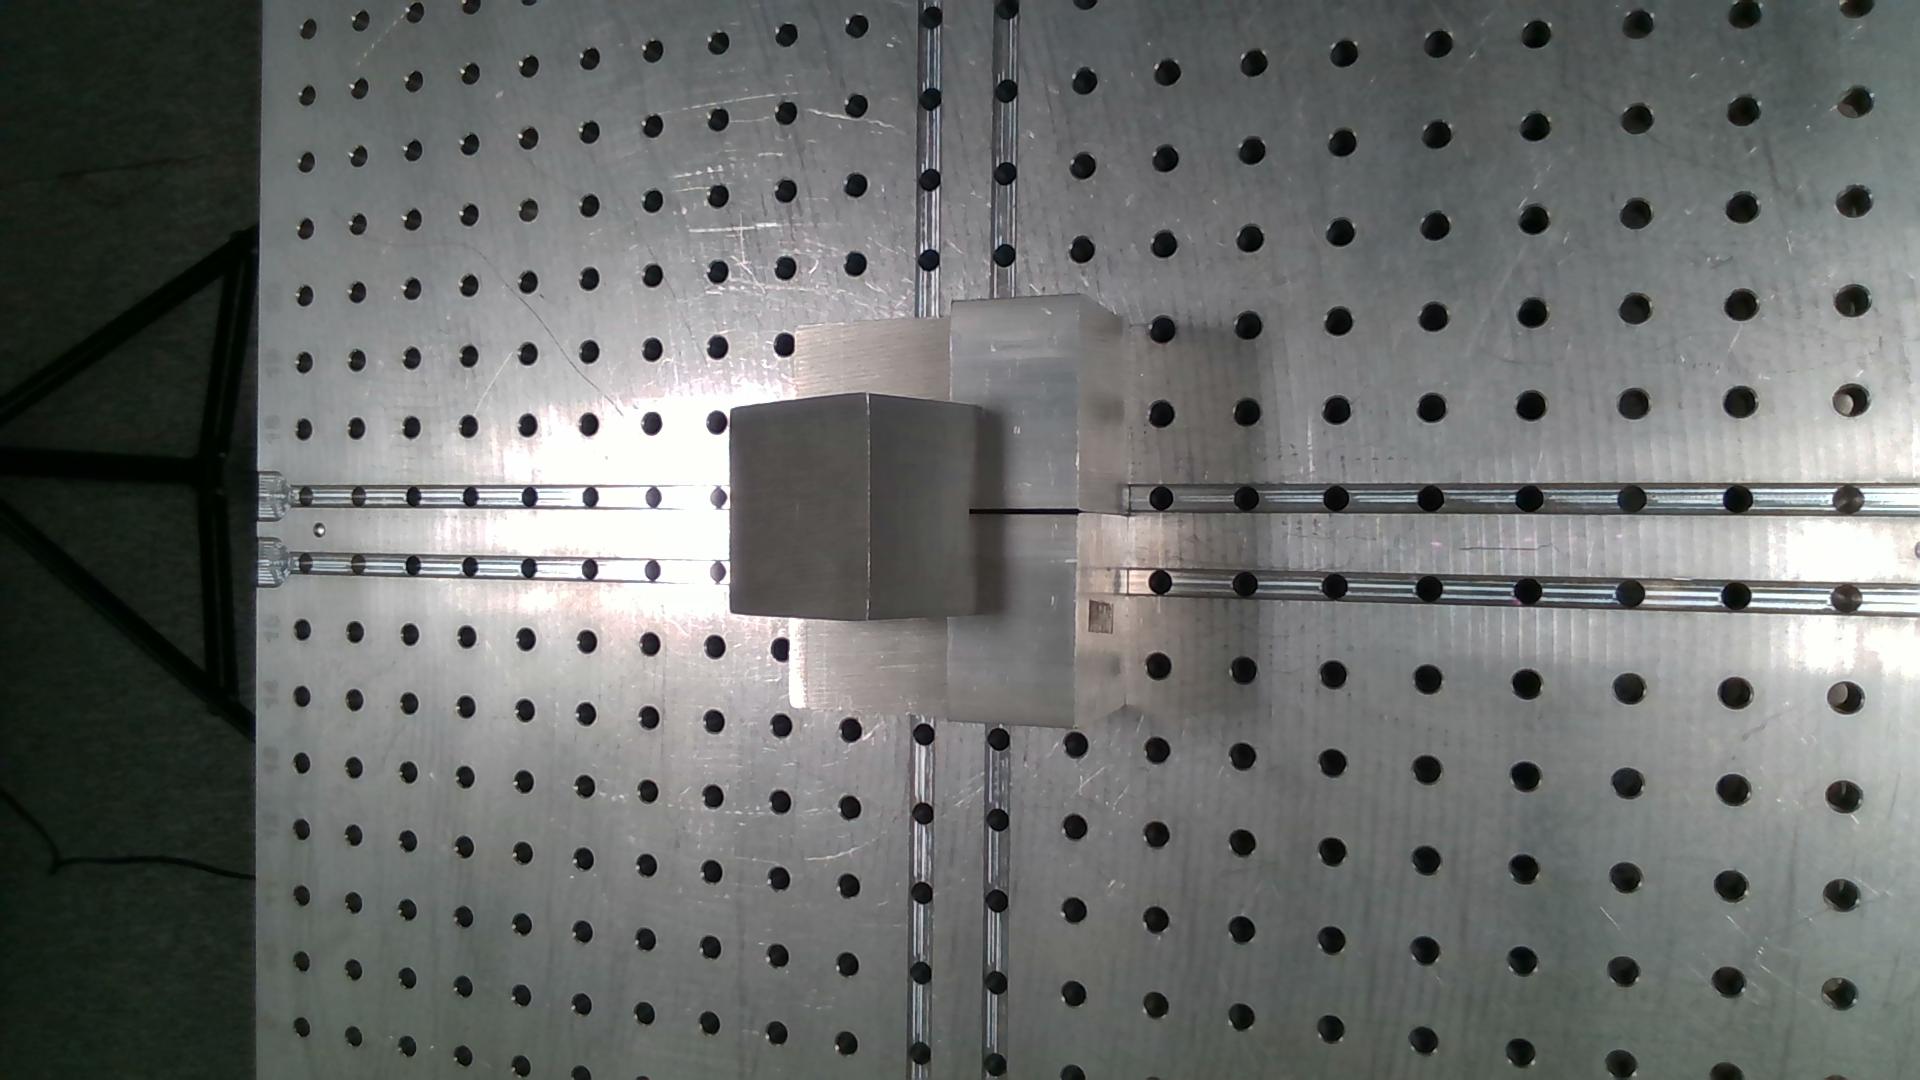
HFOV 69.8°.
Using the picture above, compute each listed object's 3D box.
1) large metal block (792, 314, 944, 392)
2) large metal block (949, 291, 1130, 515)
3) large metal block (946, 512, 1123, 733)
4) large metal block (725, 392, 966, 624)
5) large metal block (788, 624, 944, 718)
[{"bbox_3d":[-0.024,-0.050,0.581,0.080,0.050,0.080,1,91,20],"label":"large metal block"},{"bbox_3d":[0.033,-0.051,0.545,0.050,0.080,0.080,1,91,20],"label":"large metal block"},{"bbox_3d":[0.032,0.030,0.546,0.050,0.080,0.080,1,91,20],"label":"large metal block"},{"bbox_3d":[-0.044,-0.011,0.520,0.080,0.050,0.080,0,90,44],"label":"large metal block"},{"bbox_3d":[-0.025,0.031,0.582,0.080,0.050,0.080,1,91,20],"label":"large metal block"}]
